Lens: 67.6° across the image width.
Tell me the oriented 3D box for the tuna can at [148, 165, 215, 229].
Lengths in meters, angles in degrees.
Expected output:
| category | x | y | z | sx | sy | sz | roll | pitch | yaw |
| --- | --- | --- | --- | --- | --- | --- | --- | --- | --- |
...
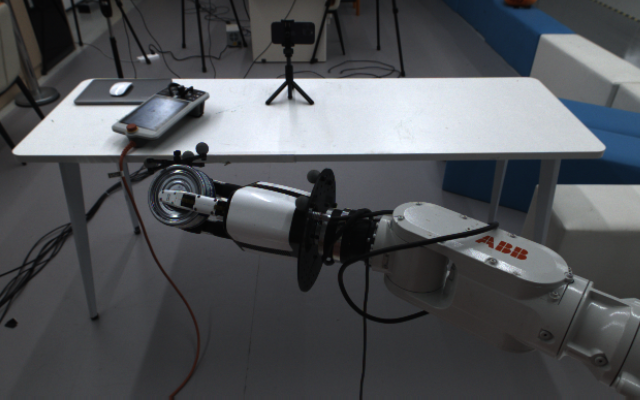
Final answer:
| category | x | y | z | sx | sy | sz | roll | pitch | yaw |
| --- | --- | --- | --- | --- | --- | --- | --- | --- | --- |
| tuna can | -0.184 | 0.001 | 0.651 | 0.085 | 0.085 | 0.034 | 12 | -6 | 14 |
